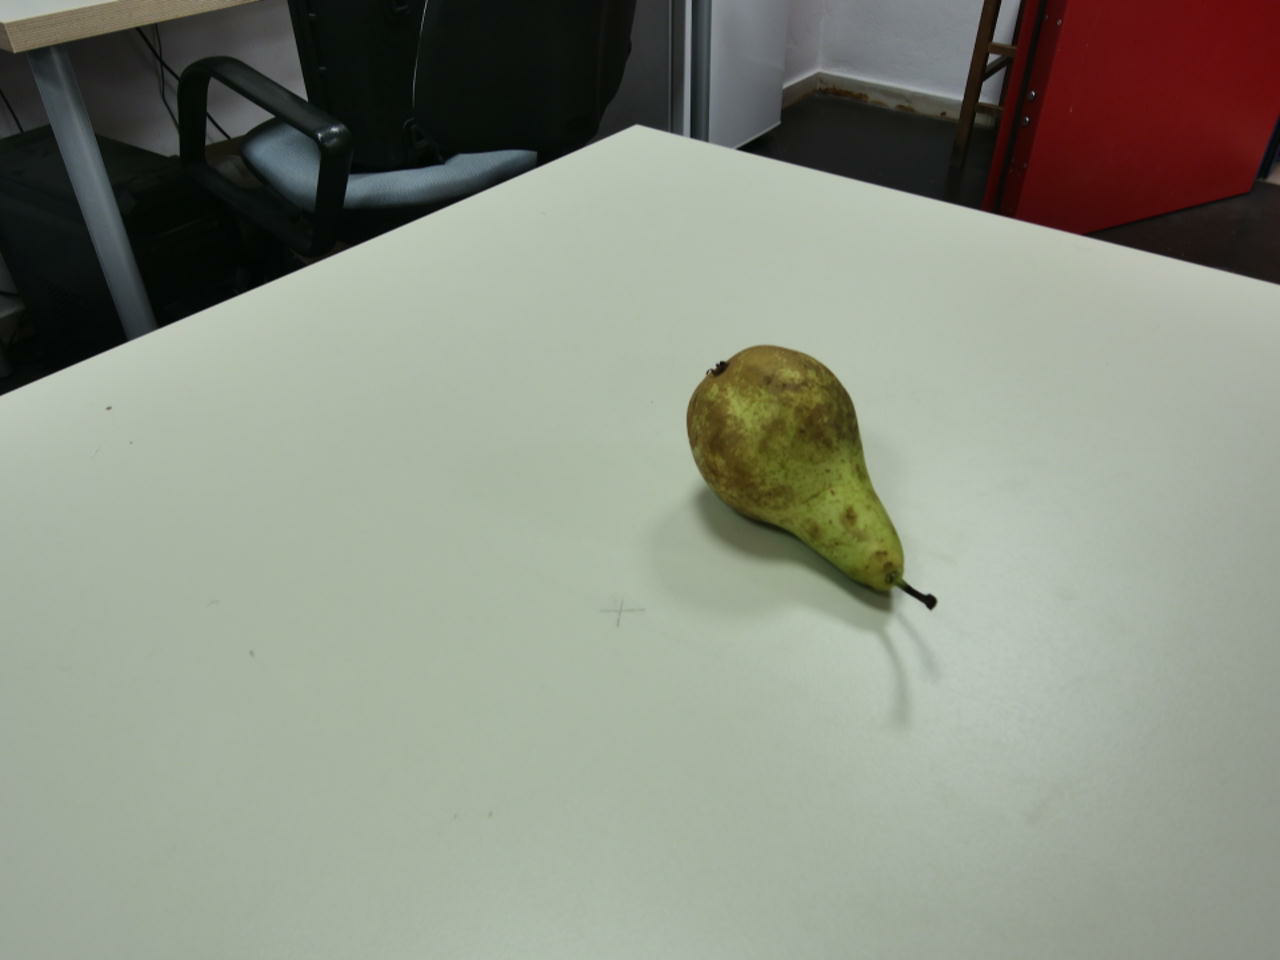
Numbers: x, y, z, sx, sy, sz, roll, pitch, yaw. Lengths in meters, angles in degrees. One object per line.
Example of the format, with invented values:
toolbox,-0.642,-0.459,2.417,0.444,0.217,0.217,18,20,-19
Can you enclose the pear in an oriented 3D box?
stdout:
pear,0.081,-0.006,0.413,0.071,0.075,0.144,-29,45,-33
